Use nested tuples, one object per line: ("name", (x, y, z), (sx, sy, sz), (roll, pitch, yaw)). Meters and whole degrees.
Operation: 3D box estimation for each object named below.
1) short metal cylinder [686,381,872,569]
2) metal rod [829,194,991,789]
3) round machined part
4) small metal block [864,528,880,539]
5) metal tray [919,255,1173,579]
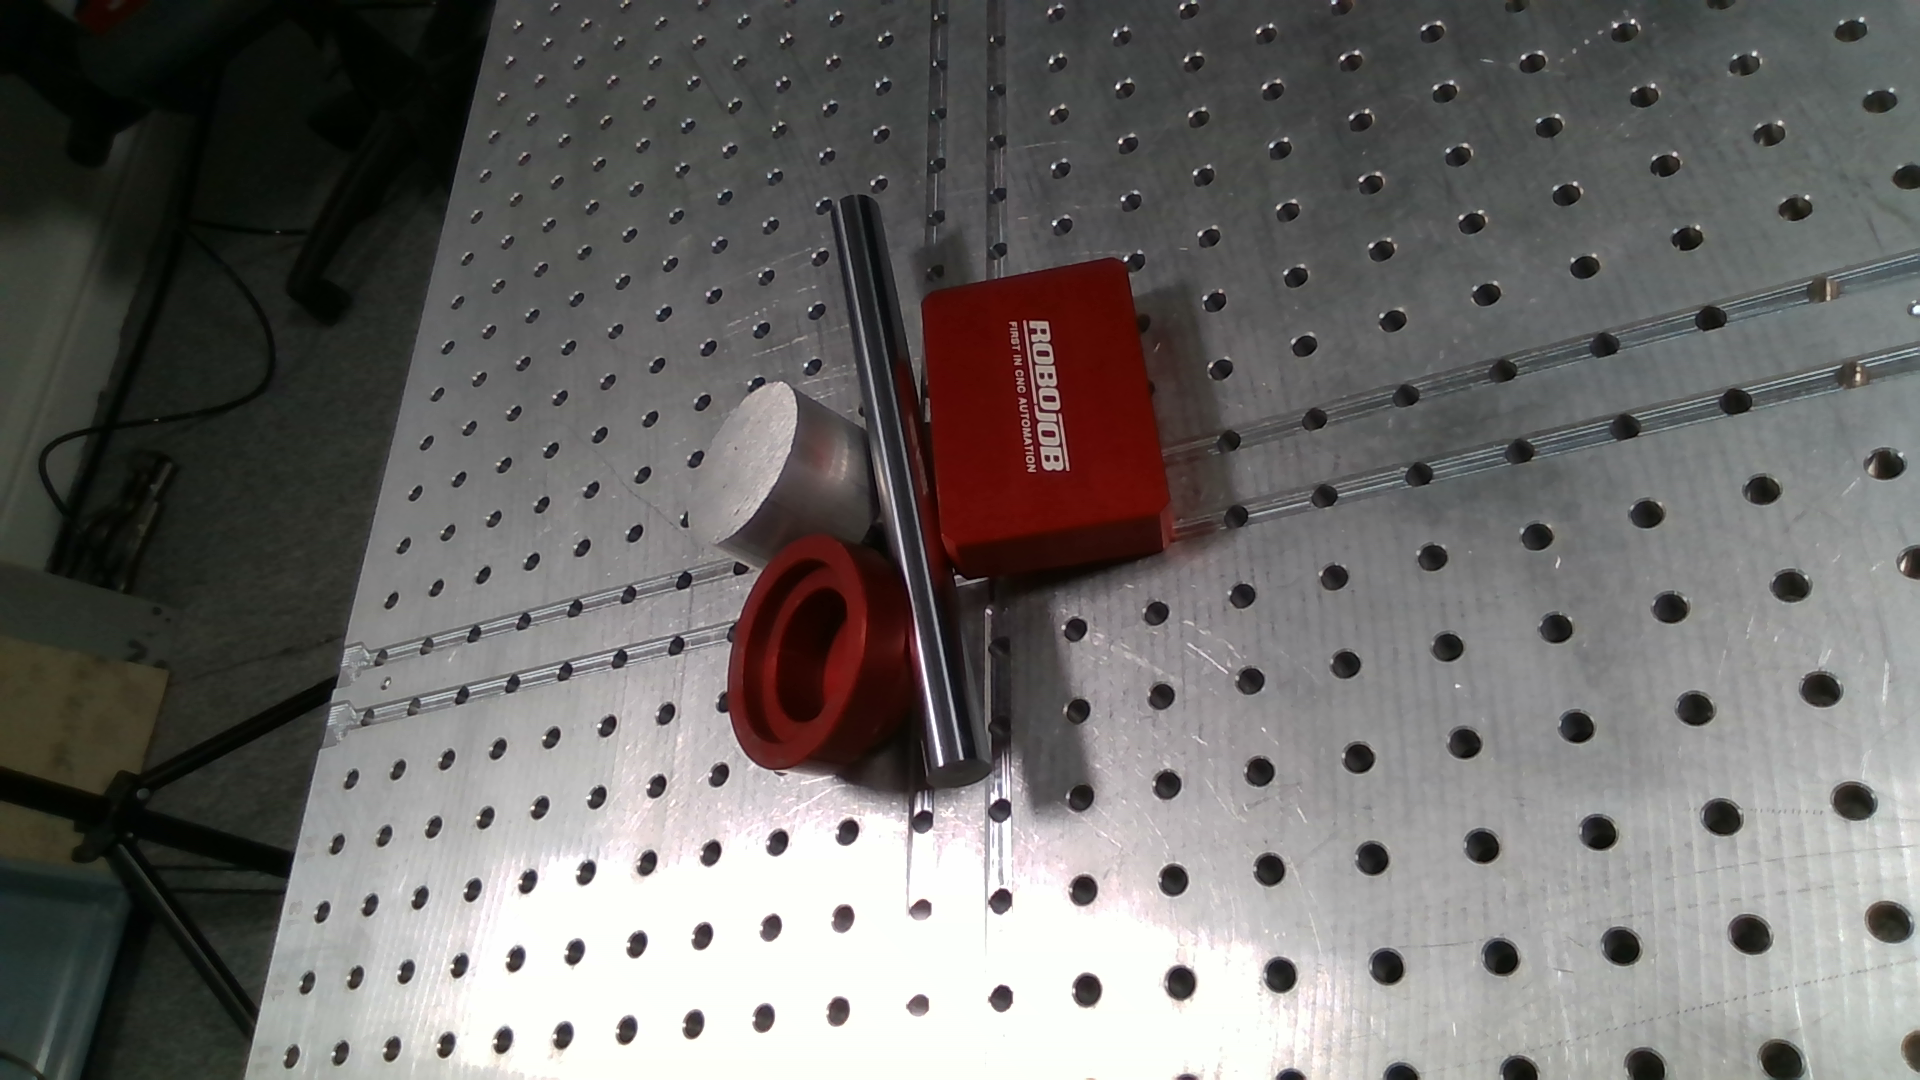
("short metal cylinder", (-0.079, -0.024, 0.618), (0.080, 0.050, 0.080), (-32, 44, 36))
("metal rod", (-0.026, -0.036, 0.591), (0.025, 0.025, 0.299), (-24, 55, 19))
("round machined part", (-0.053, 0.049, 0.569), (0.098, 0.042, 0.098), (-24, 57, 45))
("small metal block", (-0.017, -0.023, 0.622), (0.050, 0.025, 0.050), (4, 68, 33))
("metal tray", (0.034, -0.053, 0.574), (0.090, 0.030, 0.130), (-9, 60, 6))
